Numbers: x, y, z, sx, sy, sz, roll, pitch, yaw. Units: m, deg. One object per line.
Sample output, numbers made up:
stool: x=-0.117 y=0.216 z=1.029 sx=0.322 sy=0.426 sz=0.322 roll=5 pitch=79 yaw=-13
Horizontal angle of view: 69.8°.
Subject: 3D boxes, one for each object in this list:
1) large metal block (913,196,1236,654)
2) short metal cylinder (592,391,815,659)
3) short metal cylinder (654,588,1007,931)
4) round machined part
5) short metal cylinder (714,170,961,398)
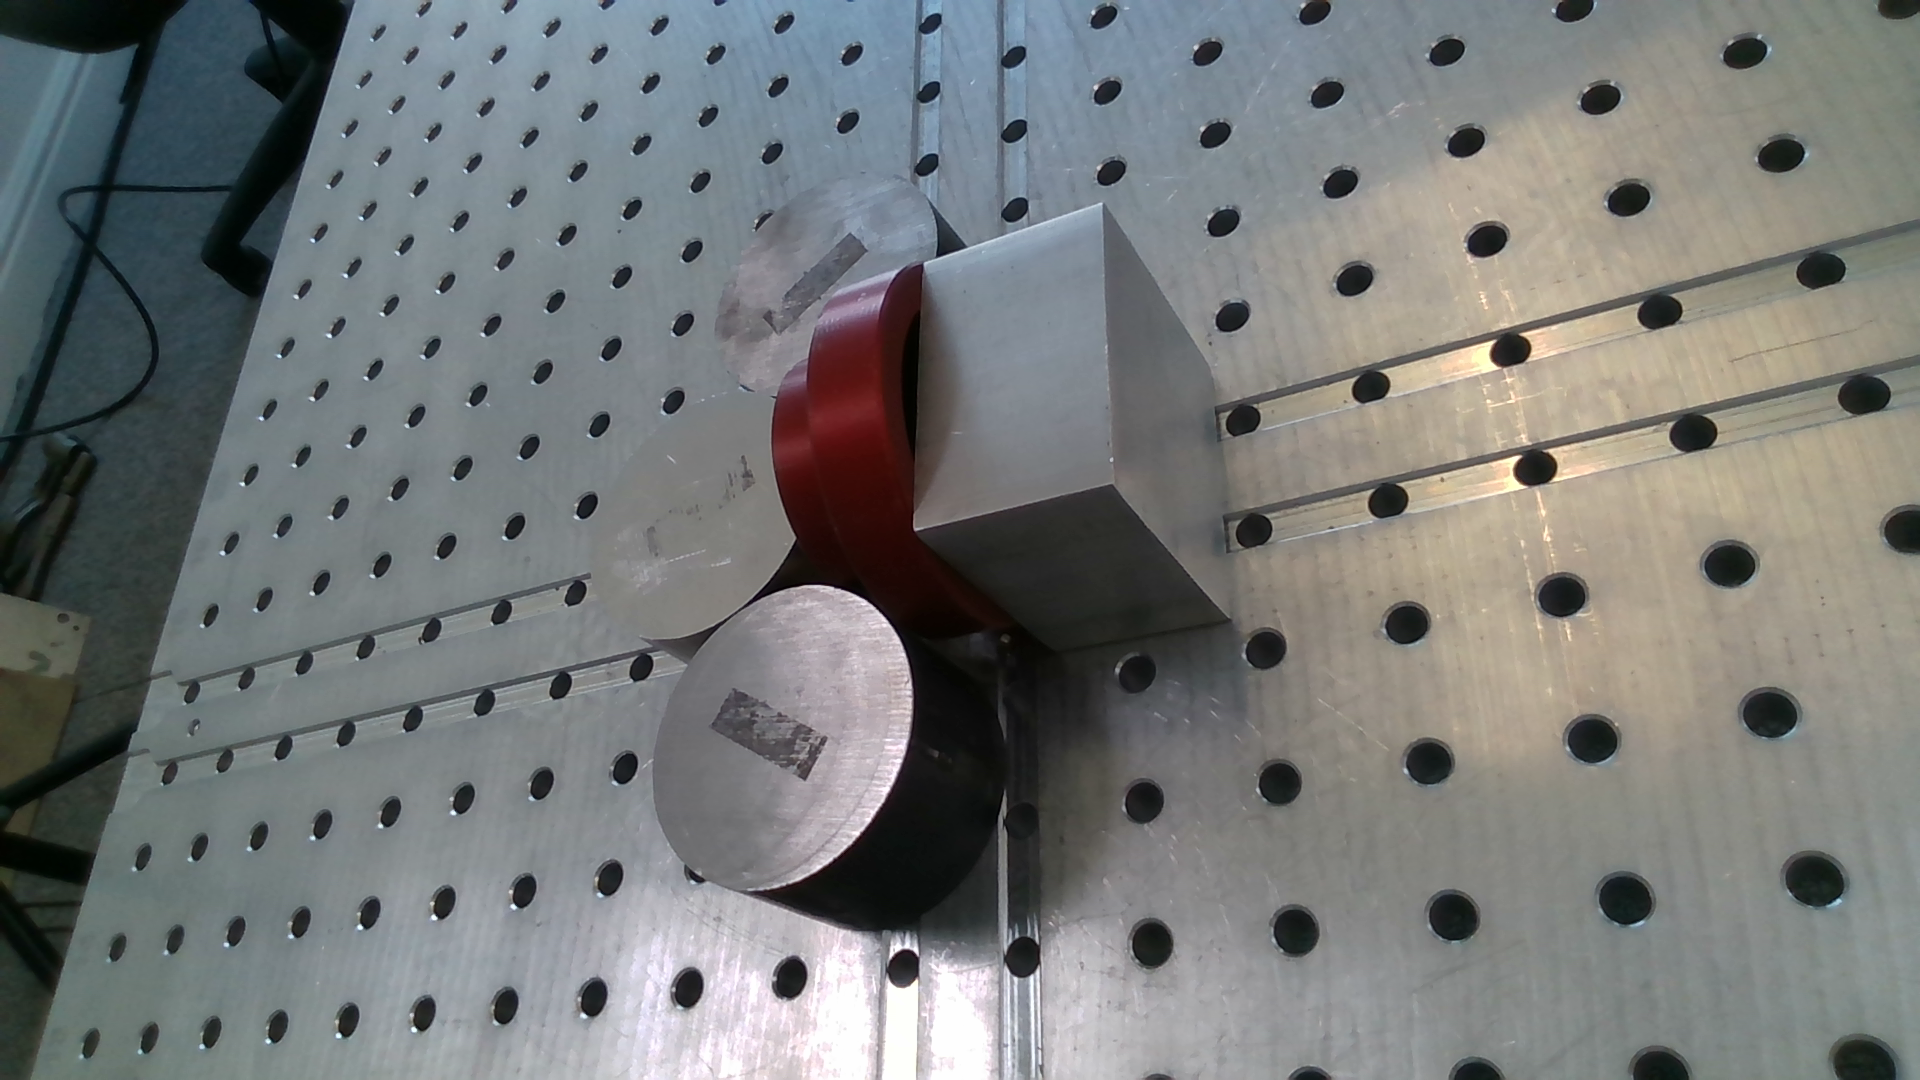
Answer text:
large metal block: x=0.031 y=-0.026 z=0.355 sx=0.050 sy=0.080 sz=0.080 roll=-14 pitch=59 yaw=25
short metal cylinder: x=-0.064 y=0.002 z=0.419 sx=0.080 sy=0.050 sz=0.080 roll=-14 pitch=59 yaw=25
short metal cylinder: x=-0.034 y=0.059 z=0.370 sx=0.080 sy=0.050 sz=0.080 roll=-14 pitch=59 yaw=25
round machined part: x=-0.016 y=-0.022 z=0.368 sx=0.042 sy=0.098 sz=0.098 roll=-12 pitch=60 yaw=25
short metal cylinder: x=-0.030 y=-0.068 z=0.435 sx=0.080 sy=0.050 sz=0.080 roll=-14 pitch=59 yaw=25
